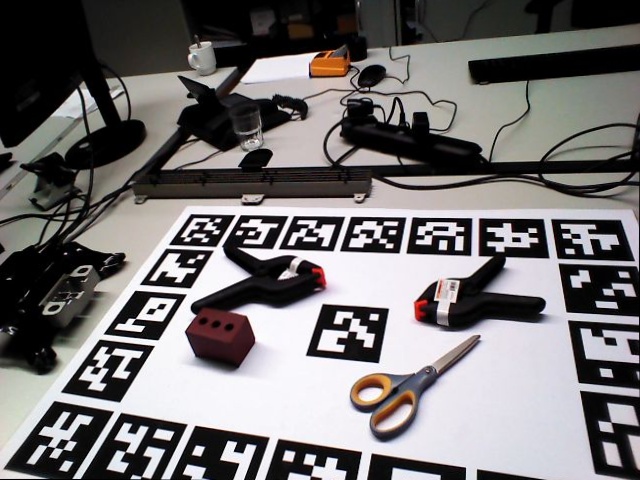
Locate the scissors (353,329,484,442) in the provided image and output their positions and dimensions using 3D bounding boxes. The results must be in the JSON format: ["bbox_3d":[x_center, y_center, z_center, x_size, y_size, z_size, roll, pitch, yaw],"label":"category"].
[{"bbox_3d":[0.133,0.164,0.645,0.202,0.016,0.088,-30,49,-24],"label":"scissors"}]

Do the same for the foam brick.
[{"bbox_3d":[-0.136,0.139,0.730,0.078,0.051,0.052,3,41,25],"label":"foam brick"}]

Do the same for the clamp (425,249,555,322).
[{"bbox_3d":[0.225,0.072,0.733,0.165,0.037,0.121,-17,45,-5],"label":"clamp"}]

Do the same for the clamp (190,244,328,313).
[{"bbox_3d":[-0.088,0.058,0.829,0.204,0.037,0.164,-1,36,13],"label":"clamp"}]
